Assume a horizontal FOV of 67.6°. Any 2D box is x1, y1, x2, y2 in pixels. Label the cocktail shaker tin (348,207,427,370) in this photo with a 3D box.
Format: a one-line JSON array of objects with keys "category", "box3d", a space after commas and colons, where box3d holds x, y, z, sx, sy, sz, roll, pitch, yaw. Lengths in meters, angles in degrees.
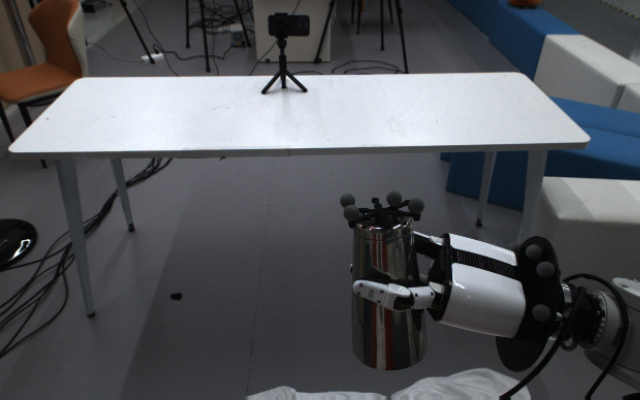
[{"category": "cocktail shaker tin", "box3d": [0.079, 0.101, 0.570, 0.093, 0.170, 0.093, -6, 19, 2]}]
